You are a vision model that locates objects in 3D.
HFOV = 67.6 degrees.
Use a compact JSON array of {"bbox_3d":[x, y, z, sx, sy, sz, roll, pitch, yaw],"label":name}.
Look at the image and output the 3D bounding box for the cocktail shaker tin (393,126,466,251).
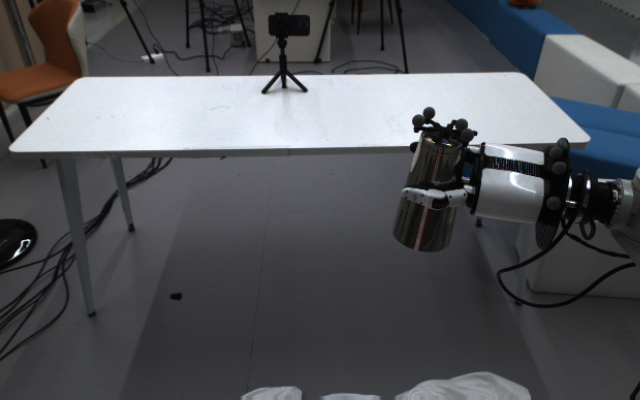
[{"bbox_3d":[0.167,-0.019,0.721,0.093,0.170,0.093,4,32,-2],"label":"cocktail shaker tin"}]
